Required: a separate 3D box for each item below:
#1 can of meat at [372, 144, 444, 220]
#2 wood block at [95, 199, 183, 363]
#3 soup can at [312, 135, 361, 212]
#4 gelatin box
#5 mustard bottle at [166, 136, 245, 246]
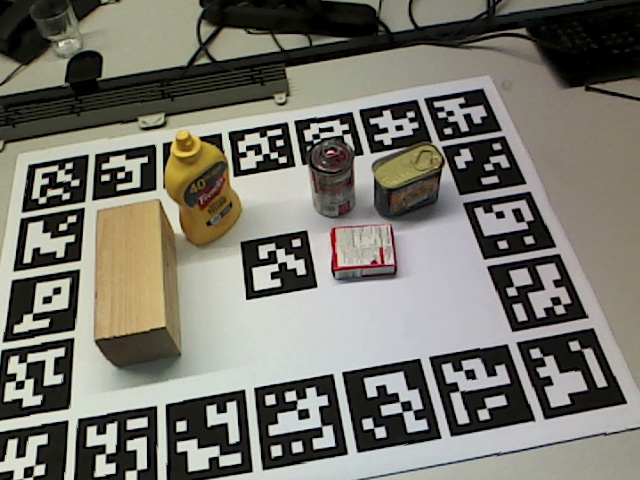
[{"bbox_3d":[0.127,-0.084,0.915,0.101,0.083,0.058,-20,57,-11],"label":"can of meat"},{"bbox_3d":[-0.244,0.053,0.856,0.091,0.089,0.207,-8,51,-2],"label":"wood block"},{"bbox_3d":[0.026,-0.096,0.912,0.068,0.101,0.068,-3,57,4],"label":"soup can"},{"bbox_3d":[0.067,0.018,0.878,0.089,0.030,0.073,-2,57,7],"label":"gelatin box"},{"bbox_3d":[-0.167,-0.075,0.880,0.096,0.191,0.059,-31,58,-17],"label":"mustard bottle"}]
